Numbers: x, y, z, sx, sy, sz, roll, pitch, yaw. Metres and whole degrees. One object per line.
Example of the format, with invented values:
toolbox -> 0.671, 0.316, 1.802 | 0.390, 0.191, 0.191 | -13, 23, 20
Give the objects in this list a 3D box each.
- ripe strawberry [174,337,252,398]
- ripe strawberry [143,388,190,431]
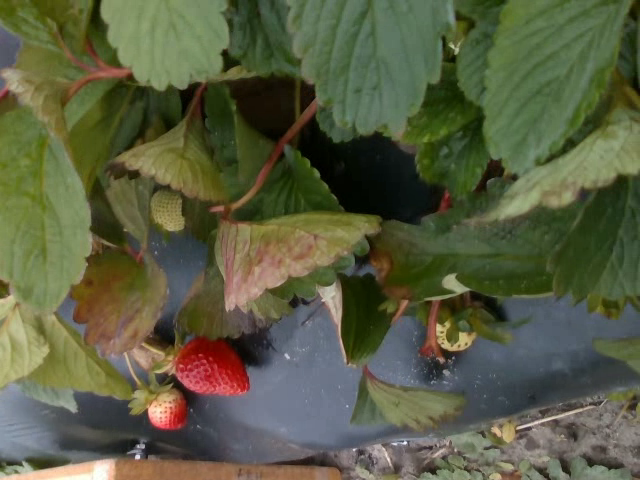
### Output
ripe strawberry -> -0.068, 0.083, 0.380 | 0.059, 0.042, 0.044 | 22, -14, 2
ripe strawberry -> -0.110, 0.123, 0.435 | 0.036, 0.028, 0.041 | -9, -42, 39
